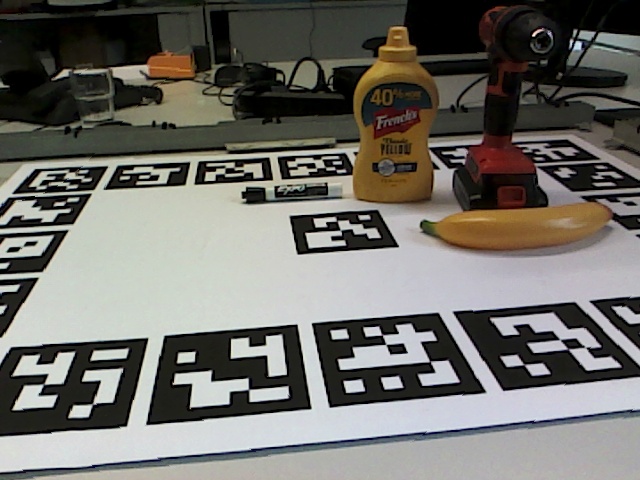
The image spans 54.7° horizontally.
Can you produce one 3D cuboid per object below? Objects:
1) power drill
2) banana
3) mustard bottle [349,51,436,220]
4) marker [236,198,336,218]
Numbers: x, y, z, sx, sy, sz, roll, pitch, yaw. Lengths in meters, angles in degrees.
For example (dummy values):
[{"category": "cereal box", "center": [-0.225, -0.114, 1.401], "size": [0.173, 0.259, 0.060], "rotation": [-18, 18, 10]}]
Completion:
[{"category": "power drill", "center": [0.195, -0.110, 0.657], "size": [0.057, 0.186, 0.184], "rotation": [4, 26, 6]}, {"category": "banana", "center": [0.196, 0.016, 0.624], "size": [0.197, 0.039, 0.074], "rotation": [-1, 30, 4]}, {"category": "mustard bottle", "center": [0.084, -0.119, 0.714], "size": [0.096, 0.191, 0.058], "rotation": [2, 28, 4]}, {"category": "marker", "center": [-0.042, -0.039, 0.753], "size": [0.121, 0.019, 0.020], "rotation": [-3, 29, -3]}]
